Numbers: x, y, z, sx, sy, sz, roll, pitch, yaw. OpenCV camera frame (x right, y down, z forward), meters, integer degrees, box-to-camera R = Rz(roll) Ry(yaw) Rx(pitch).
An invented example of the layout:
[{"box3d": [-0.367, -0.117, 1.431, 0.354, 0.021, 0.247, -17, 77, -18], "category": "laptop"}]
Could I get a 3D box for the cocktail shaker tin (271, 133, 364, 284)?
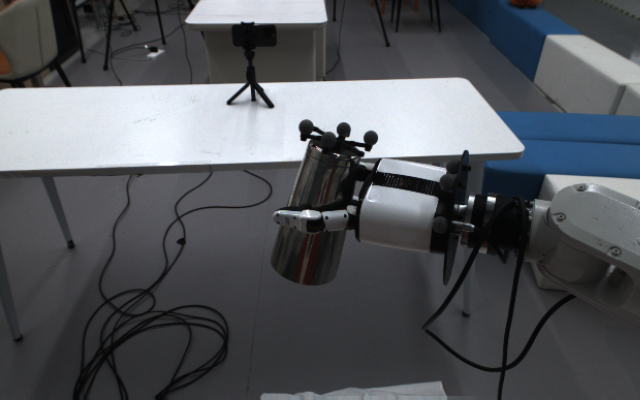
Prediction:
[{"box3d": [0.001, 0.010, 0.614, 0.093, 0.170, 0.093, 11, 24, -5], "category": "cocktail shaker tin"}]
